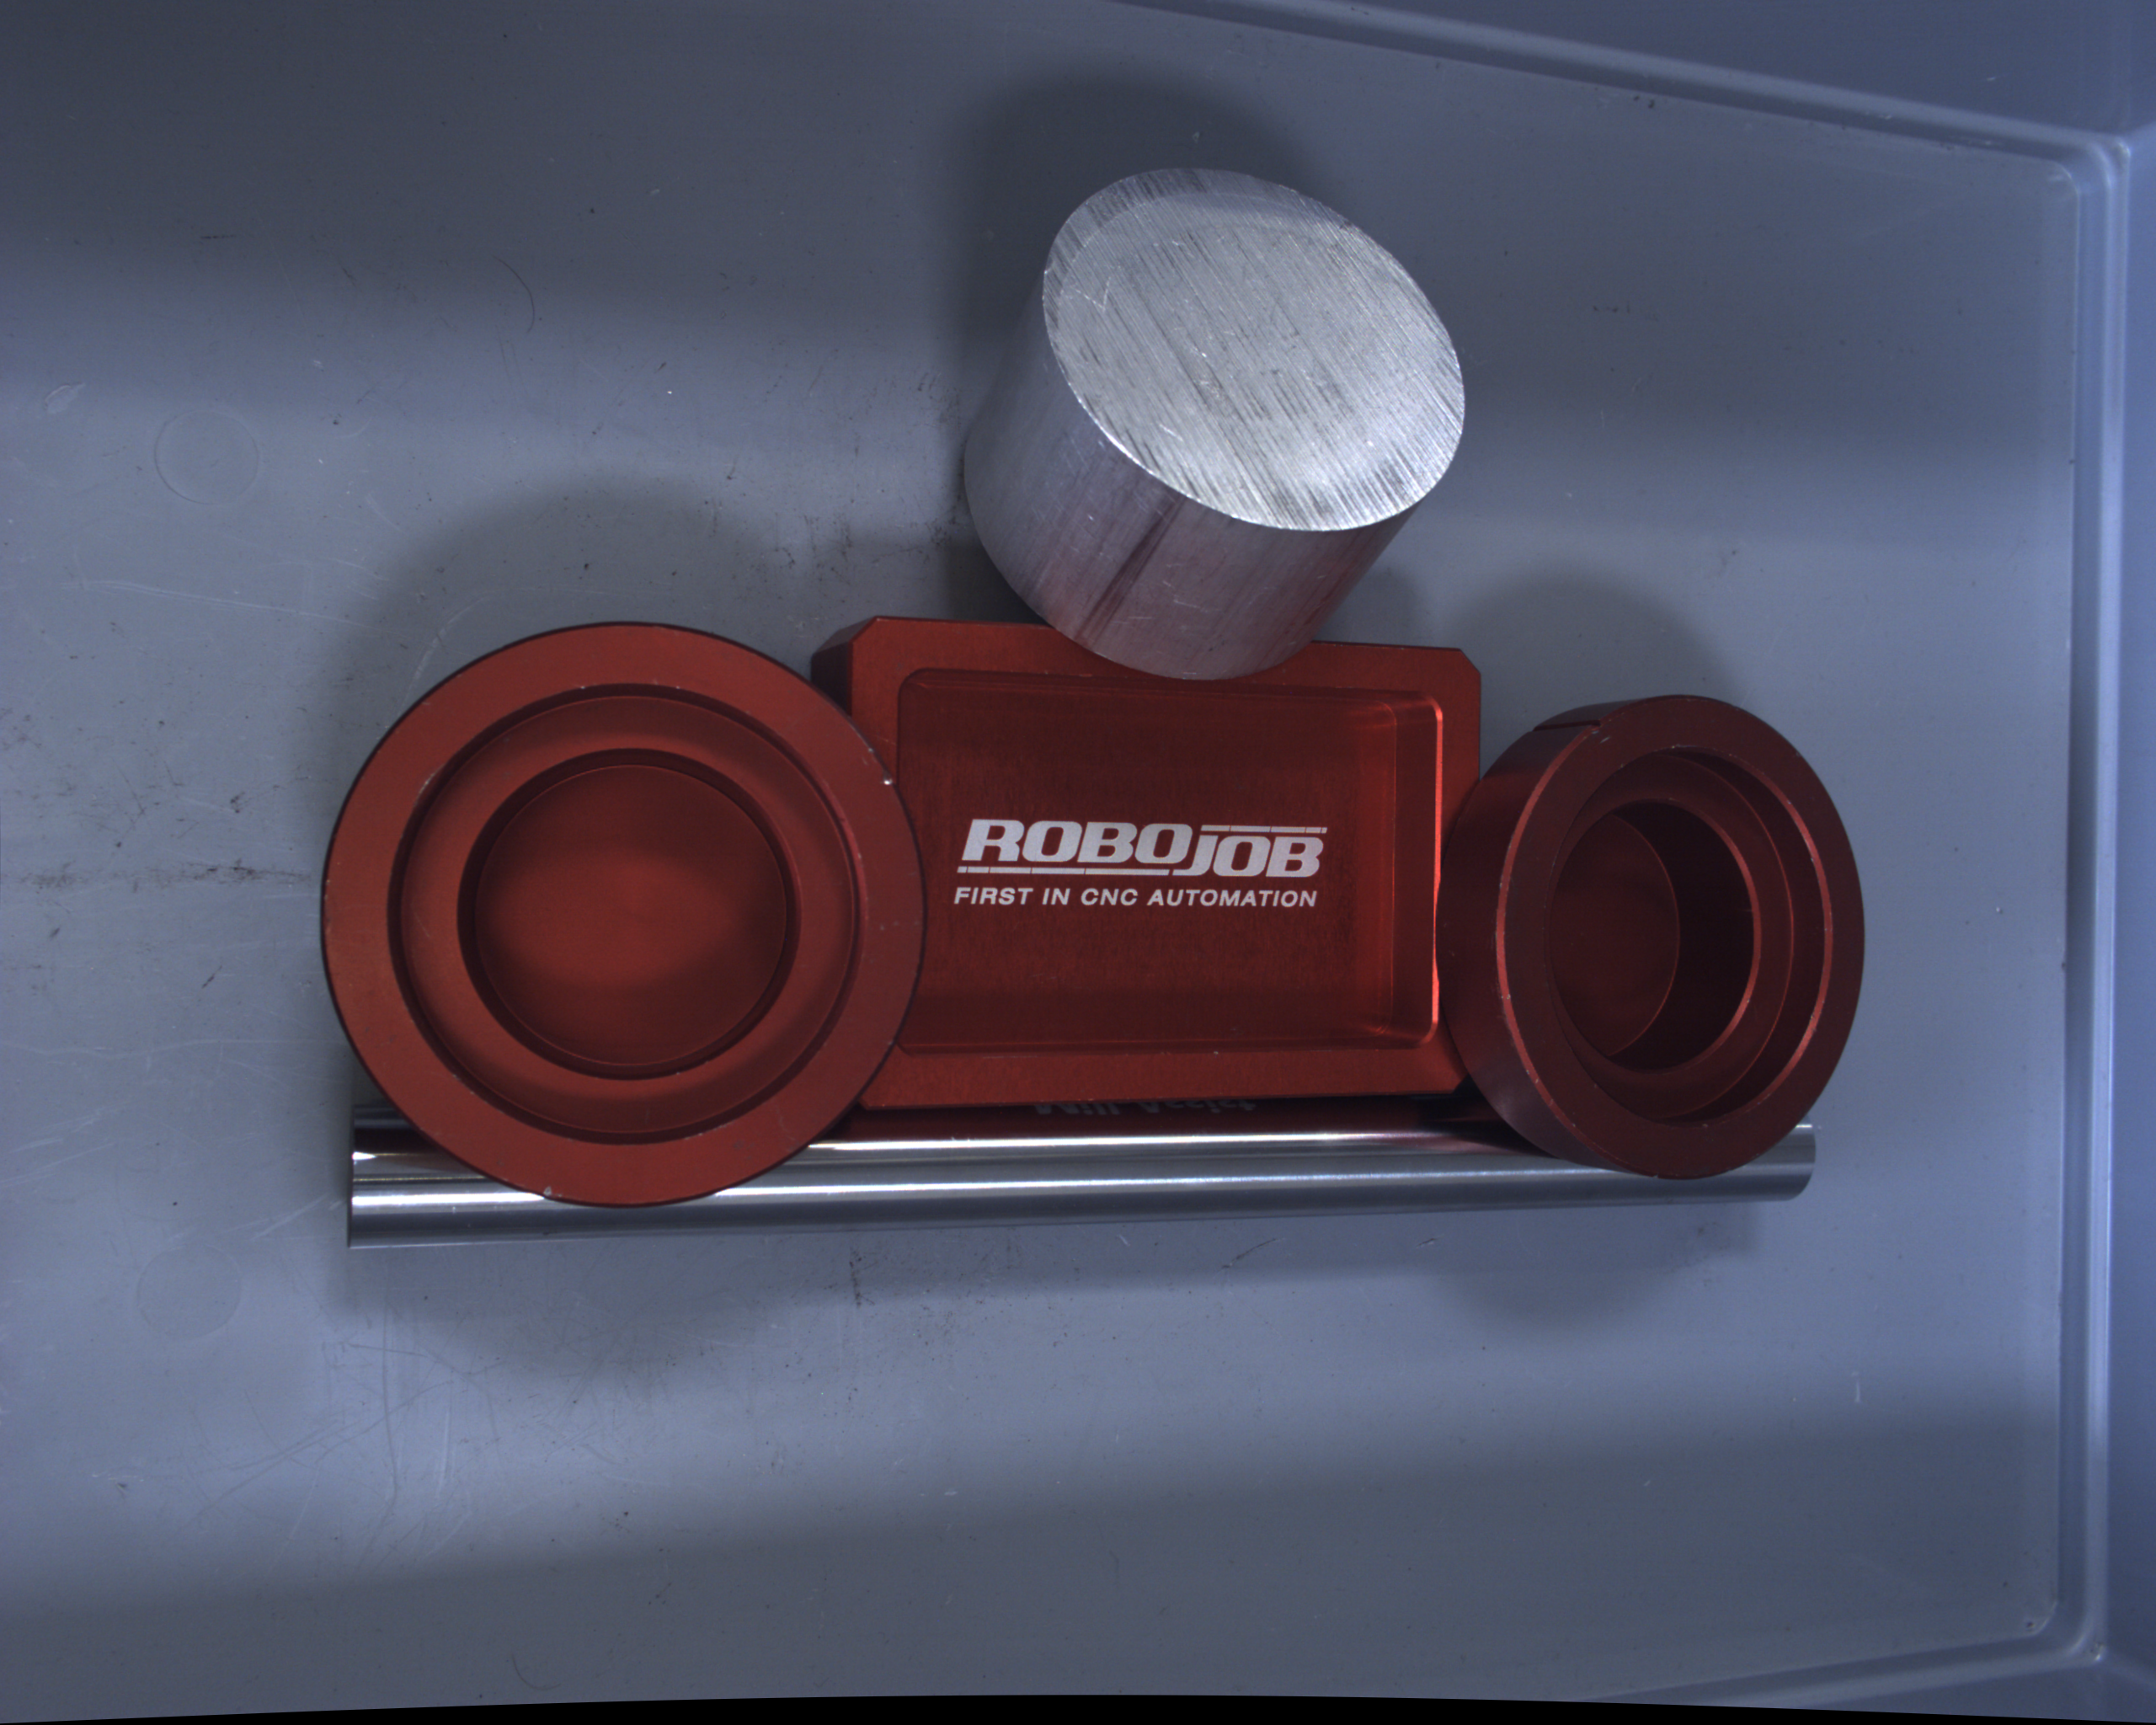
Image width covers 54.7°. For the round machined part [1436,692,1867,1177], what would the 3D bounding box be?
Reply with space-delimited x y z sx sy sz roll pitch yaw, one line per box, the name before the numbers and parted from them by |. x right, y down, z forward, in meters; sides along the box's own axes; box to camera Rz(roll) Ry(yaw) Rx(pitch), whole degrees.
round machined part | 0.114 0.015 0.436 0.099 0.042 0.097 1 88 -28

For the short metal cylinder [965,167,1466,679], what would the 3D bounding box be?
short metal cylinder | 0.024 -0.081 0.389 0.081 0.050 0.080 9 61 -16

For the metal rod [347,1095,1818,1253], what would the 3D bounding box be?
metal rod | 0.015 0.059 0.414 0.302 0.025 0.025 2 90 -20

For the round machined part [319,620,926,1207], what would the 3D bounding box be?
round machined part | -0.078 0.009 0.366 0.099 0.042 0.097 1 87 -12

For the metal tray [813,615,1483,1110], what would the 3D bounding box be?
metal tray | 0.015 0.001 0.411 0.131 0.030 0.089 1 90 -21
